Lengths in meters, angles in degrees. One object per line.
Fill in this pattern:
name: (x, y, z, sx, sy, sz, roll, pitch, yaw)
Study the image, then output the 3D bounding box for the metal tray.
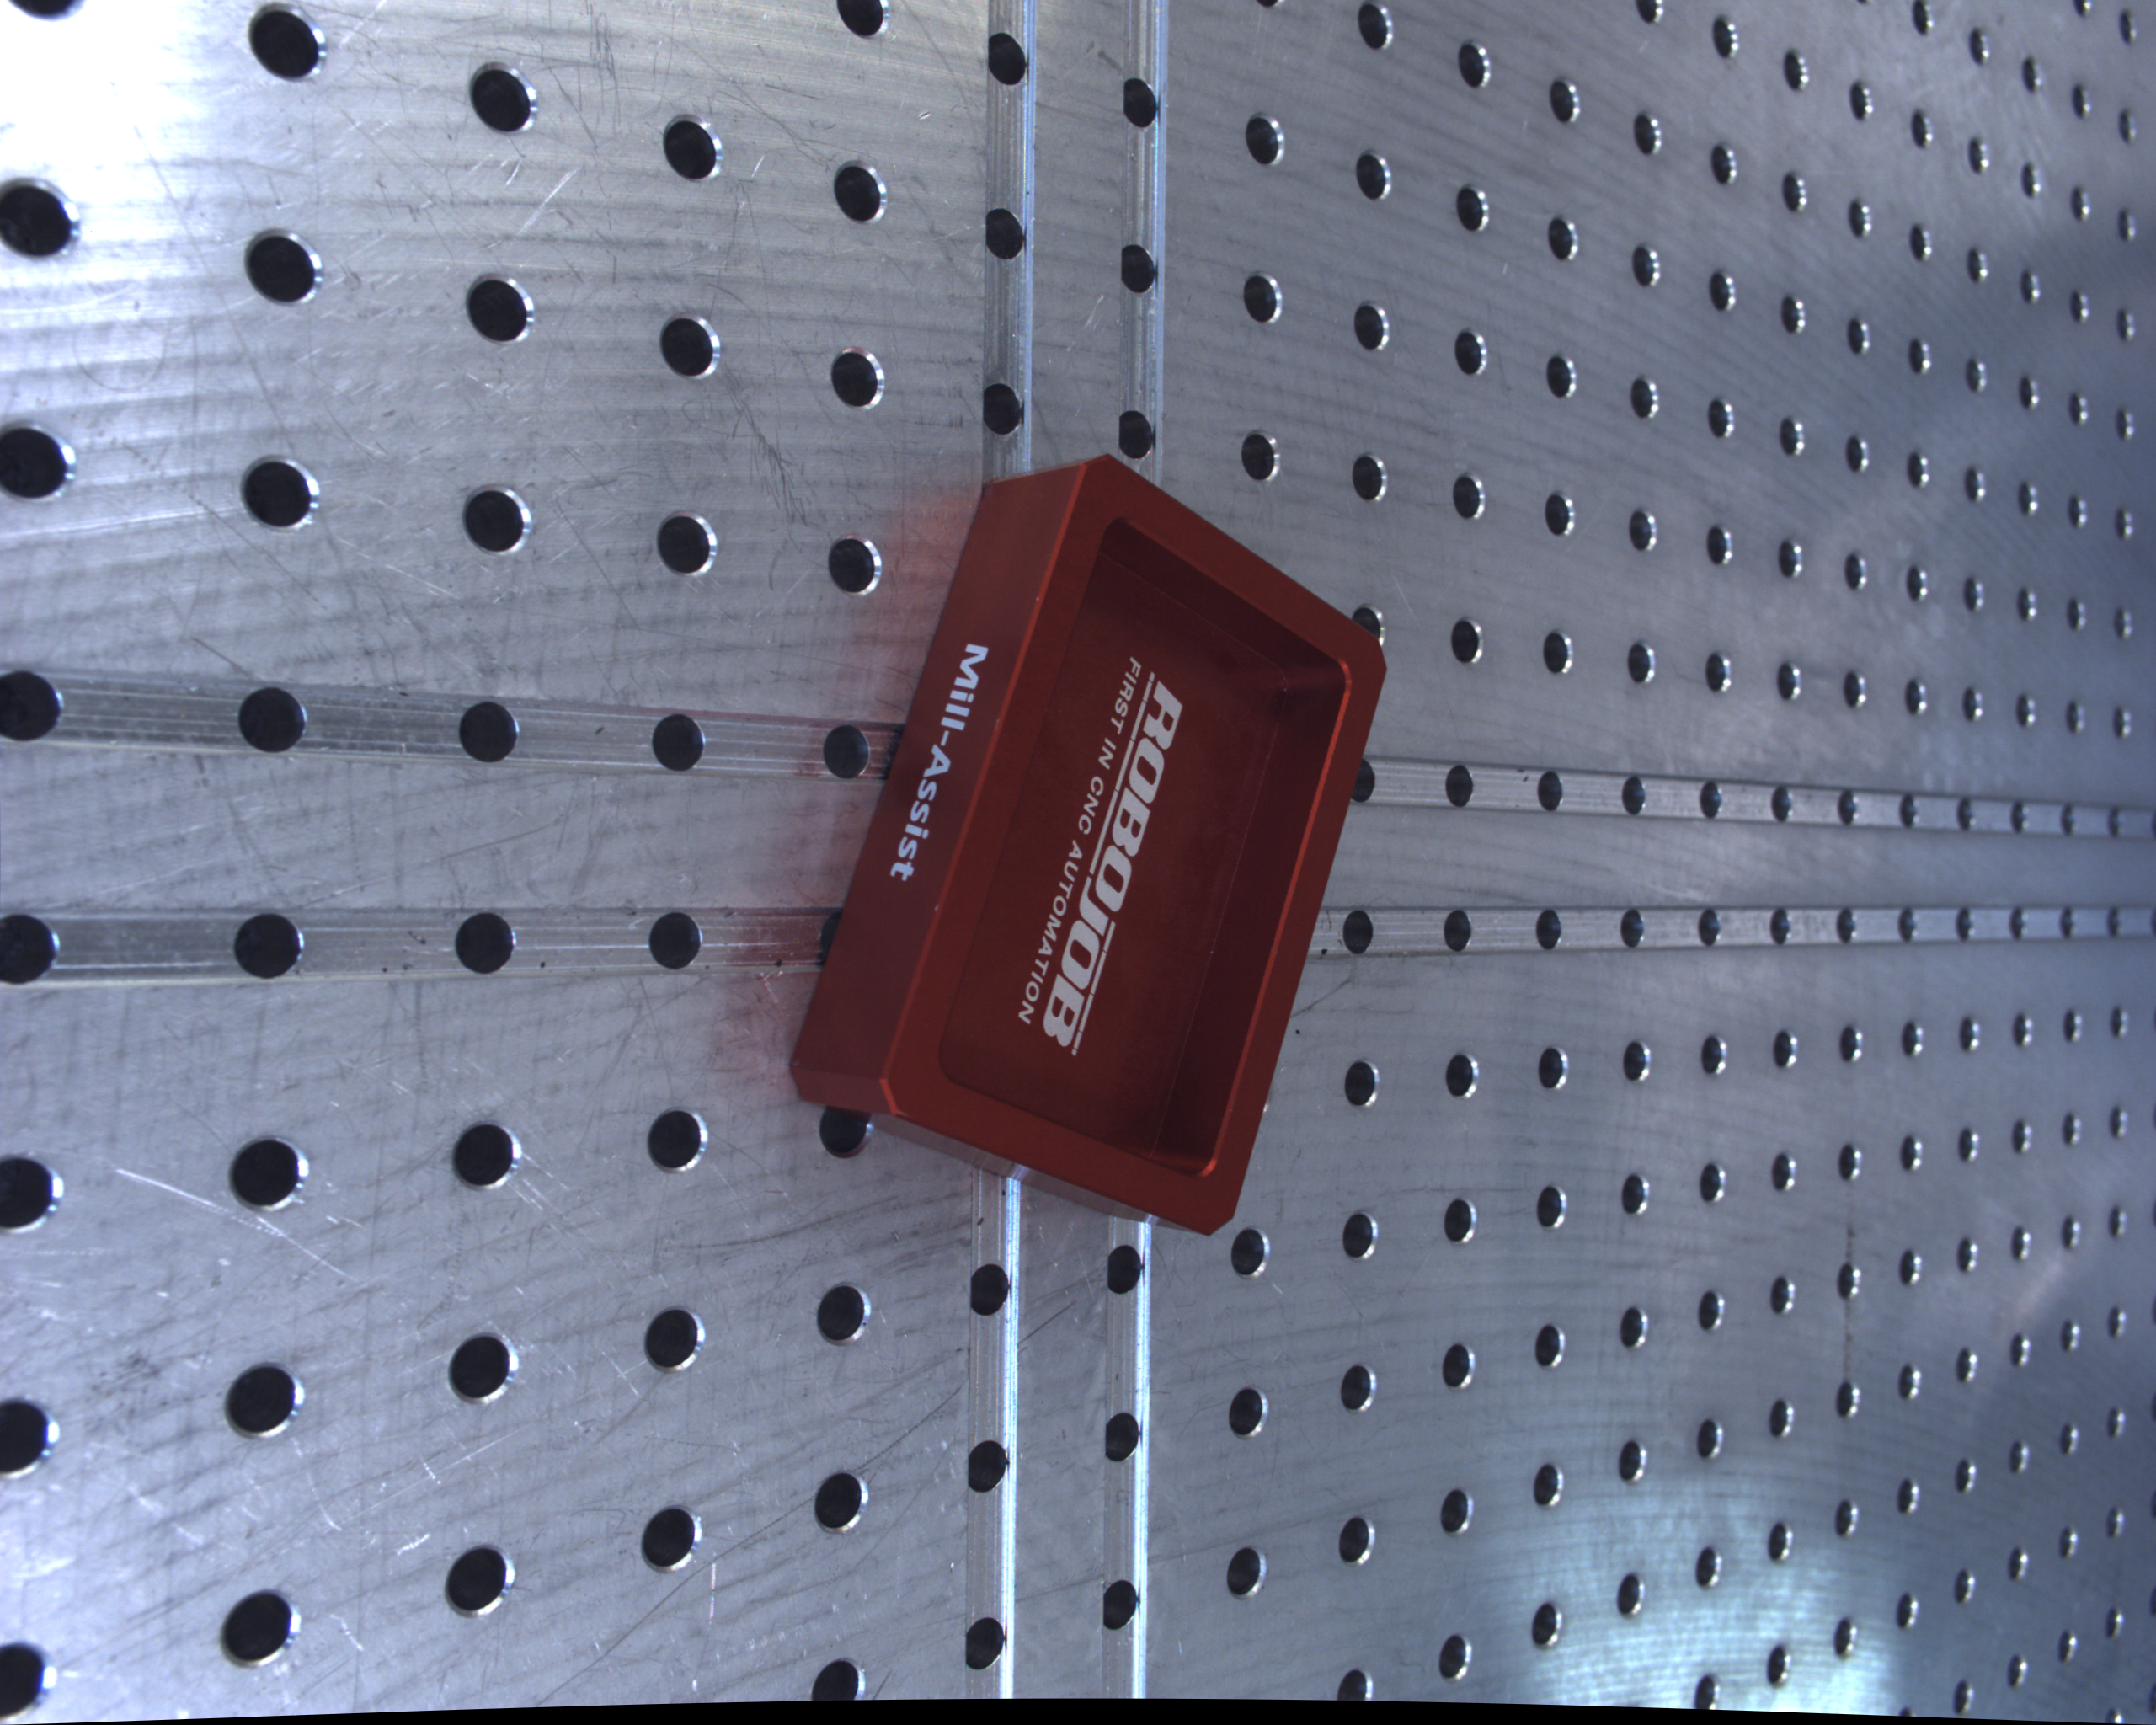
metal tray: (0.007, -0.002, 0.410, 0.090, 0.030, 0.130, 28, 73, -37)
